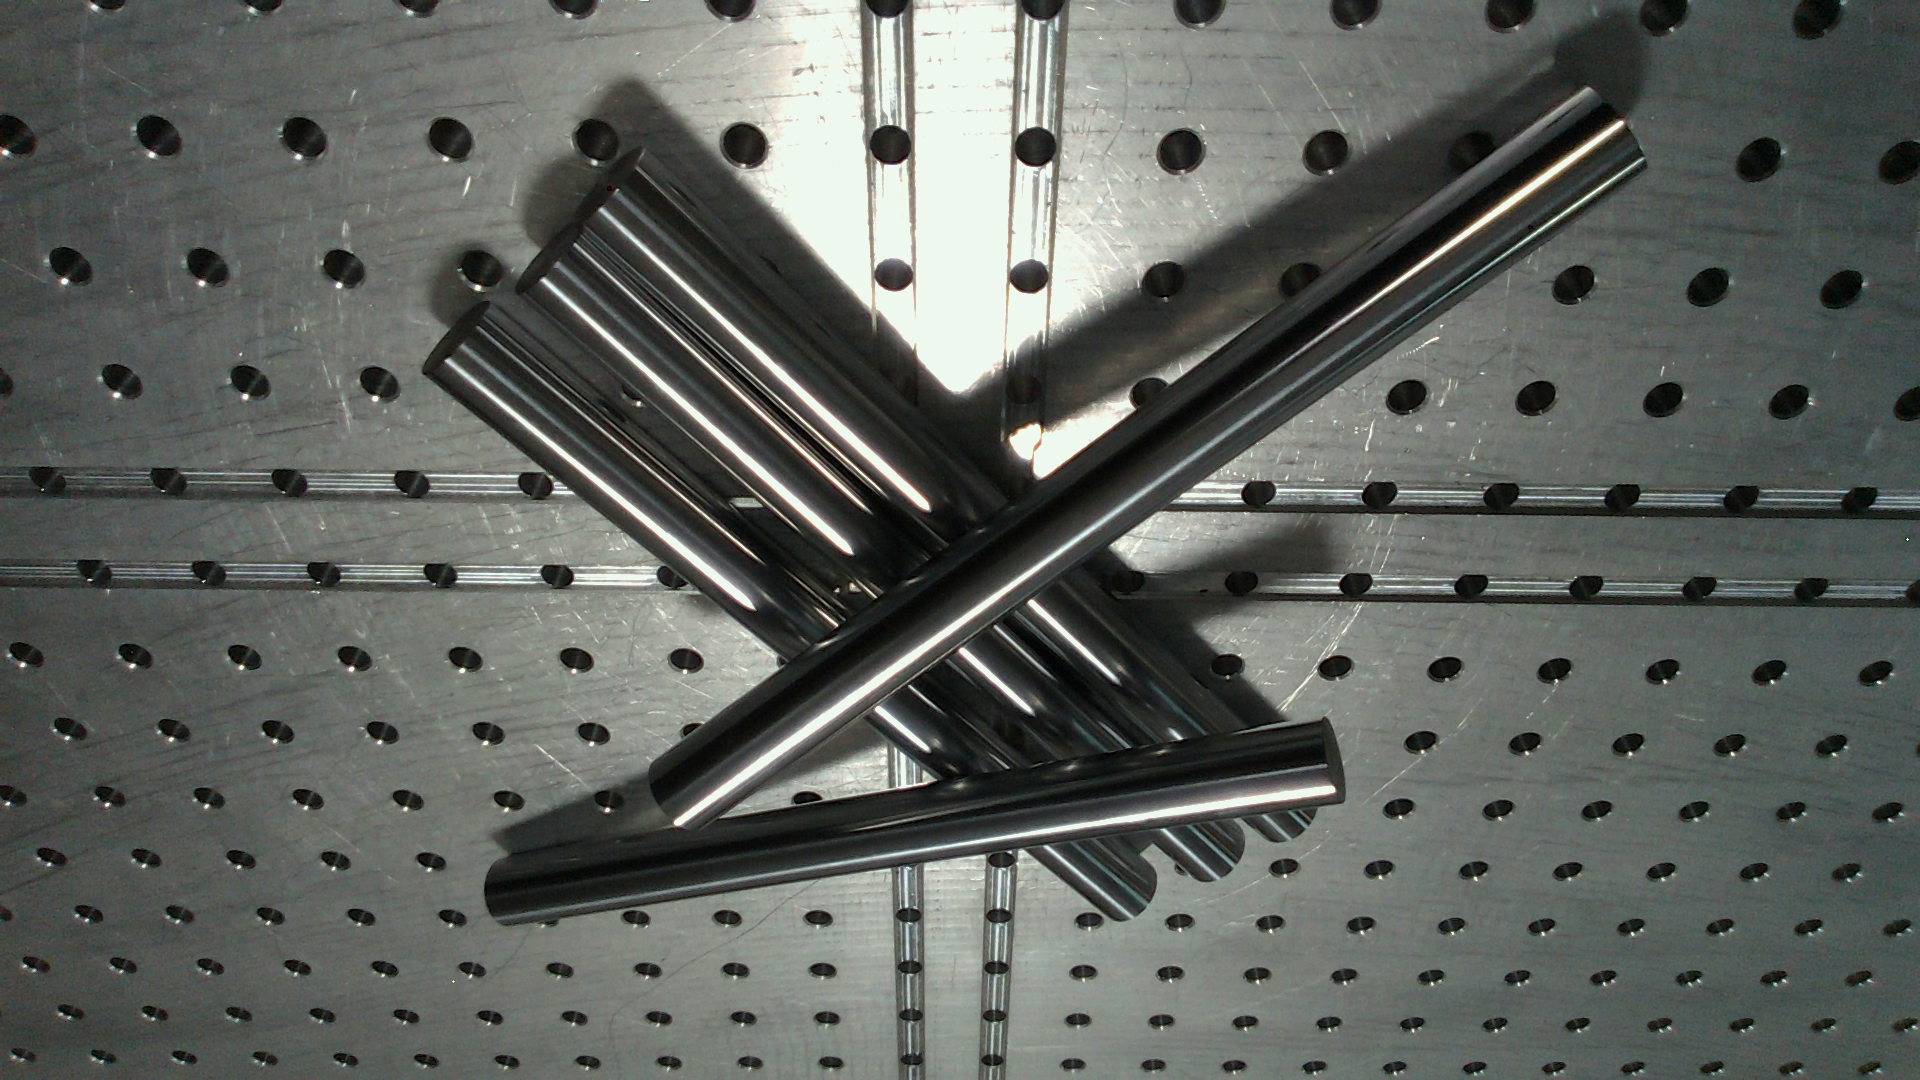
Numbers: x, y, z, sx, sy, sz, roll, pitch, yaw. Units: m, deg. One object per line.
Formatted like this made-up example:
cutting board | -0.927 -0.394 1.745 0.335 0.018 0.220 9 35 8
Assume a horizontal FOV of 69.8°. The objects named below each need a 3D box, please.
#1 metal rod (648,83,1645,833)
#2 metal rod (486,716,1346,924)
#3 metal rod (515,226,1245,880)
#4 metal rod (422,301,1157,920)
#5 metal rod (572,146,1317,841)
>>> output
metal rod | 0.034 -0.010 0.359 0.299 0.025 0.025 -36 122 17
metal rod | -0.029 0.095 0.446 0.299 0.025 0.025 -14 129 22
metal rod | -0.005 0.020 0.410 0.025 0.025 0.301 -32 123 24
metal rod | -0.033 0.038 0.425 0.025 0.025 0.301 -32 123 24
metal rod | 0.015 0.004 0.397 0.025 0.025 0.301 -33 123 25
